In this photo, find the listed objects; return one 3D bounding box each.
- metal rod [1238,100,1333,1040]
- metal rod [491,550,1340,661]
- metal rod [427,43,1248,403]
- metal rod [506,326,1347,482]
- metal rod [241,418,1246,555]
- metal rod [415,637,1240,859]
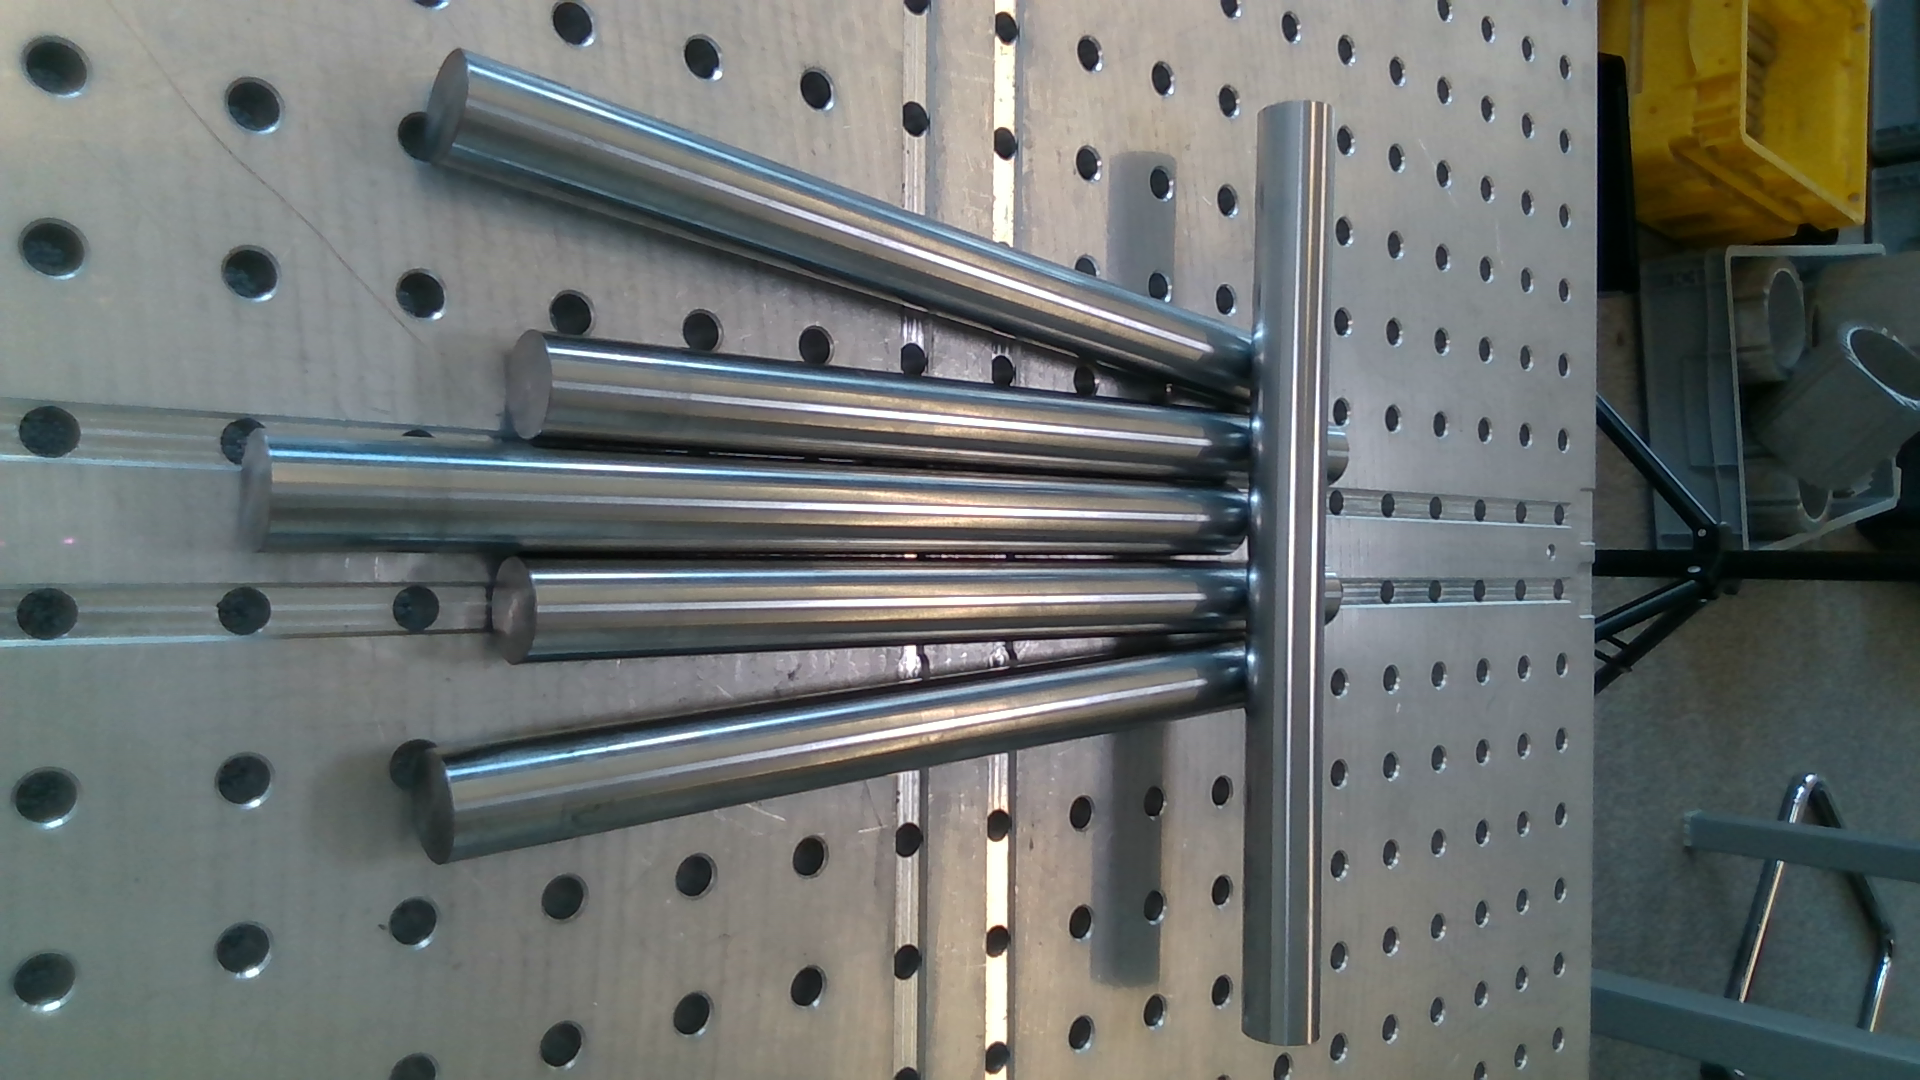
[{"bbox_3d":[0.107,0.009,0.451,0.025,0.025,0.300,2,89,-40],"label":"metal rod"},{"bbox_3d":[0.014,0.017,0.407,0.300,0.025,0.025,1,89,-40],"label":"metal rod"},{"bbox_3d":[0.003,-0.076,0.395,0.300,0.025,0.025,9,84,-40],"label":"metal rod"},{"bbox_3d":[0.017,-0.034,0.408,0.300,0.025,0.025,1,89,-40],"label":"metal rod"},{"bbox_3d":[-0.026,-0.010,0.372,0.300,0.025,0.025,1,89,-40],"label":"metal rod"},{"bbox_3d":[0.001,0.051,0.395,0.300,0.025,0.025,-3,92,-40],"label":"metal rod"}]
